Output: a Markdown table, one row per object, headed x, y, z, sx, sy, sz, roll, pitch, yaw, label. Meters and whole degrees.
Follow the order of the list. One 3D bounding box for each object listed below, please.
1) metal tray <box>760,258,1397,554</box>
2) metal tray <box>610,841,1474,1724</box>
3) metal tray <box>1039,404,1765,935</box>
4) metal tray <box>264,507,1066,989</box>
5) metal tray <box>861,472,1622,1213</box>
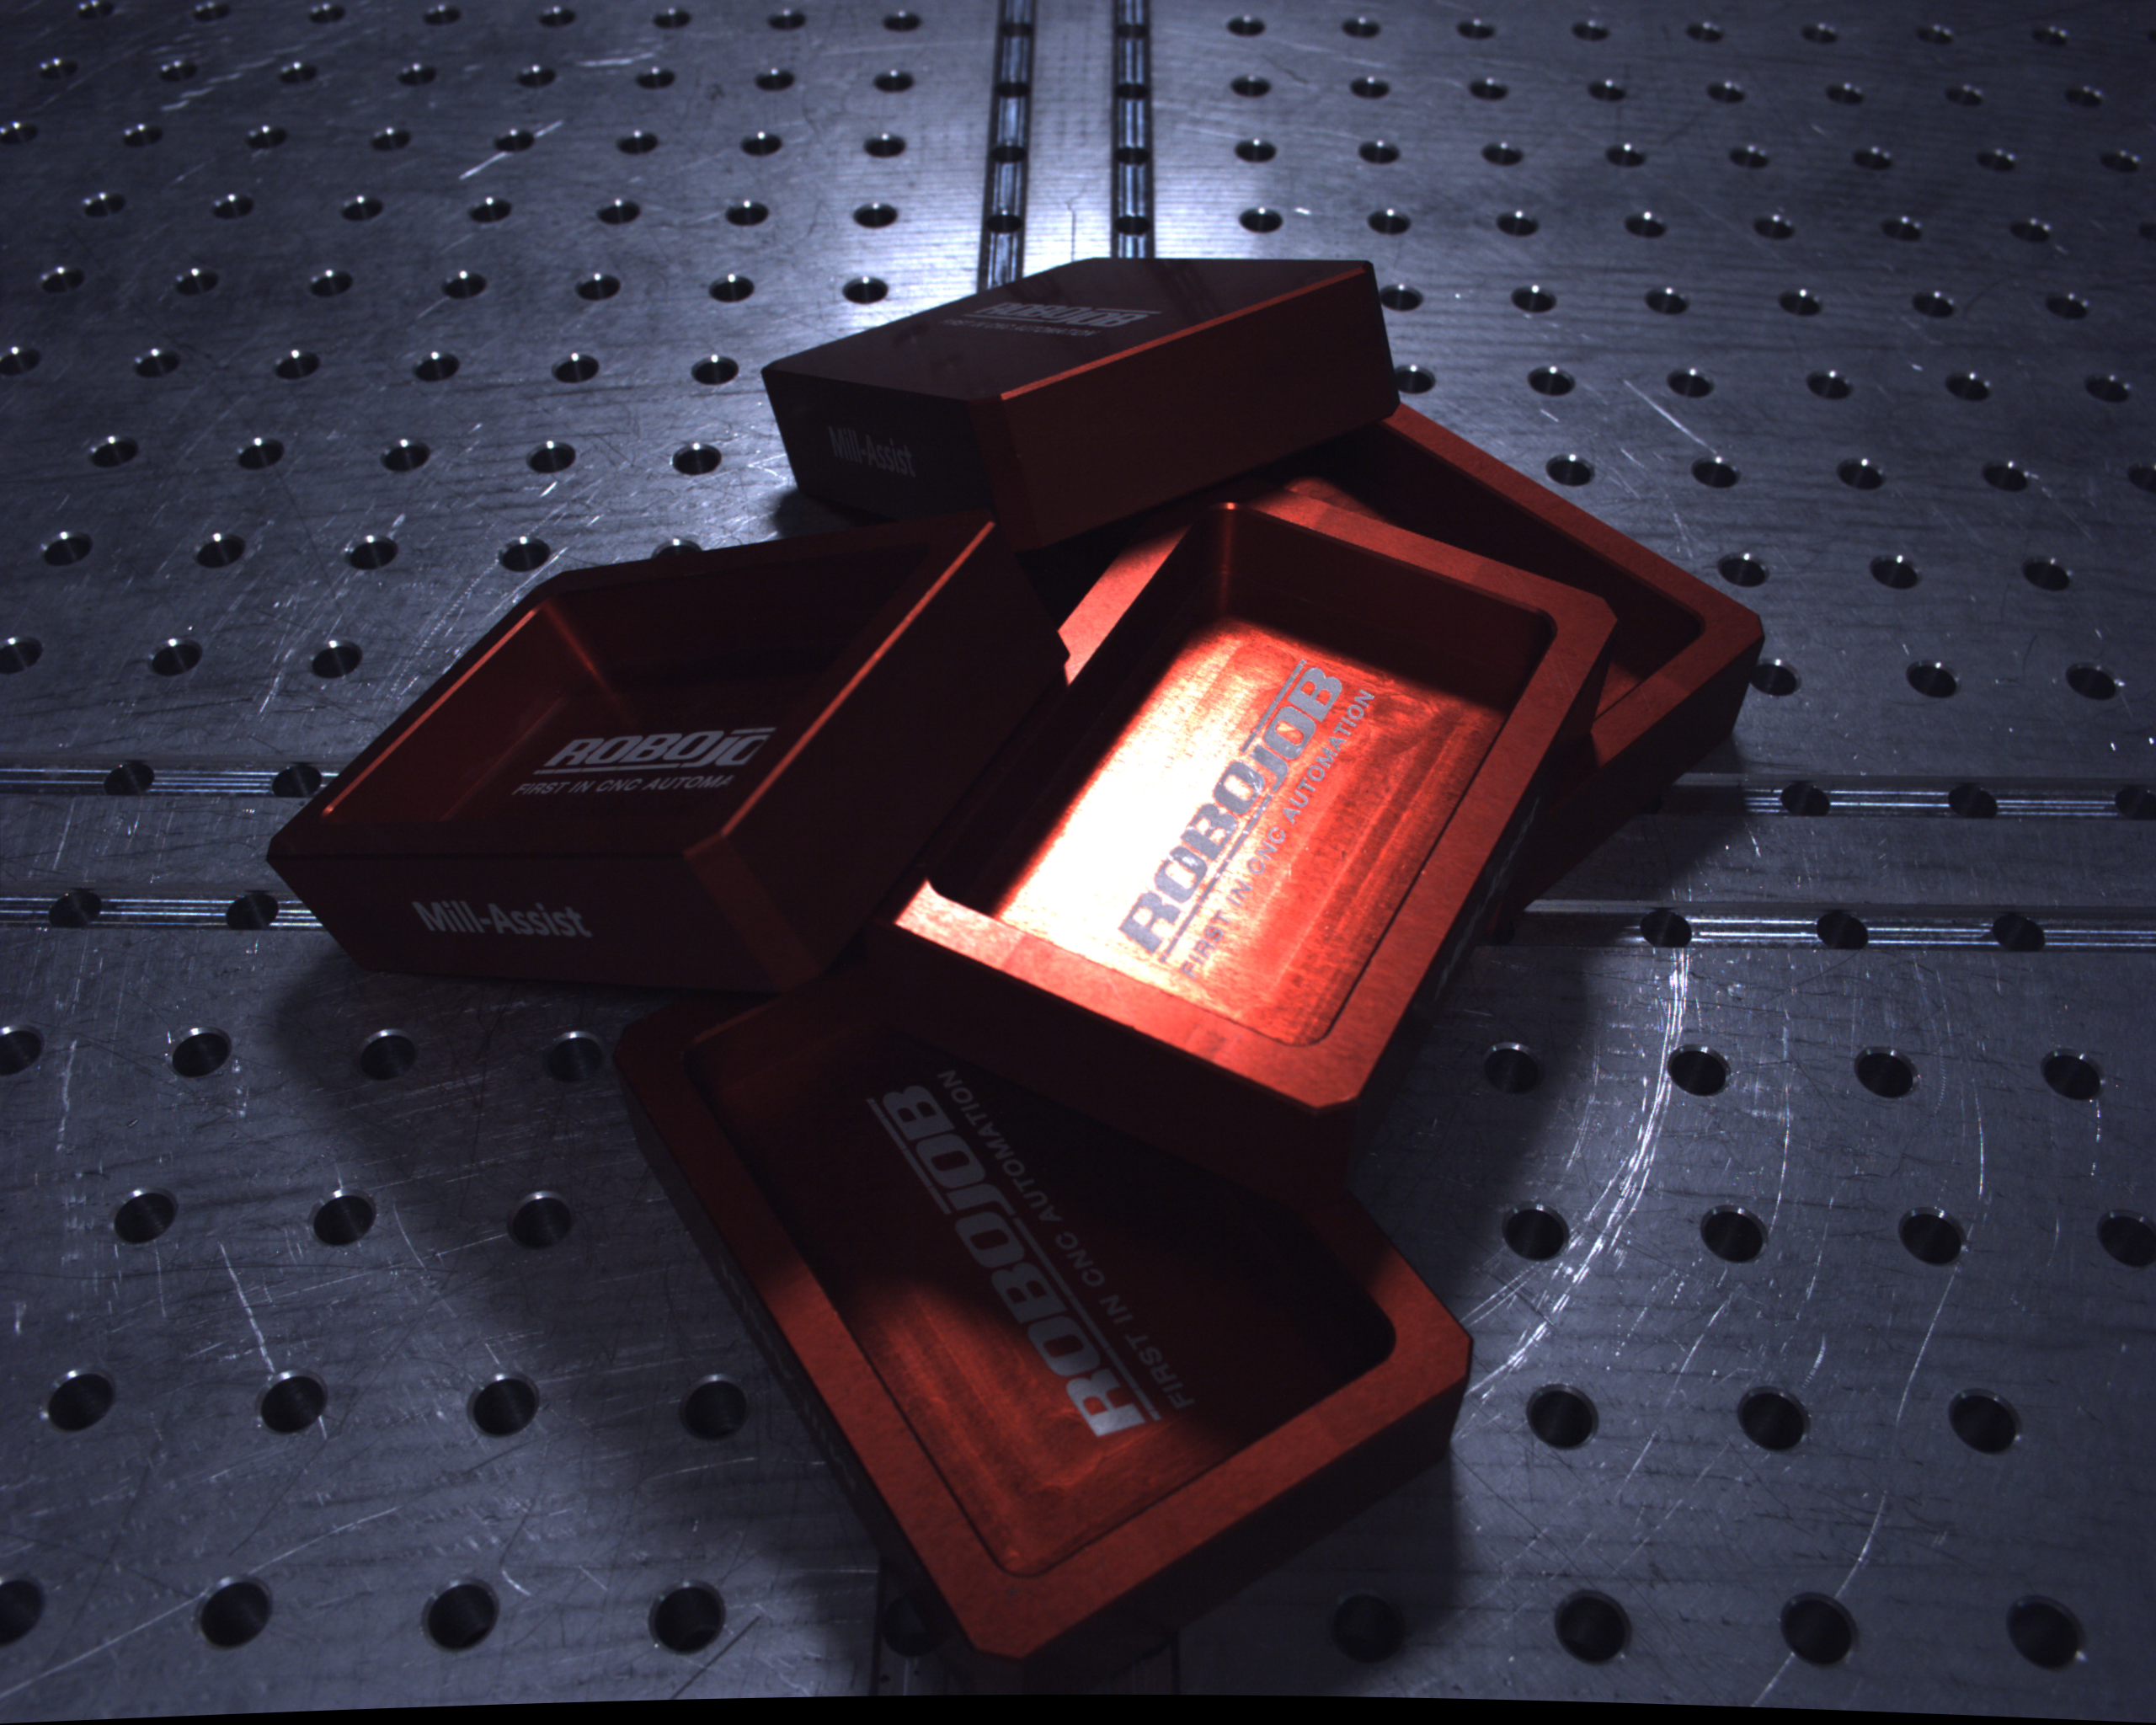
| x | y | z | sx | sy | sz | roll | pitch | yaw | label |
| --- | --- | --- | --- | --- | --- | --- | --- | --- | --- |
| -0.004 | -0.103 | 0.452 | 0.091 | 0.030 | 0.130 | -24 | 24 | -20 | metal tray |
| -0.009 | 0.063 | 0.351 | 0.091 | 0.030 | 0.130 | -26 | 55 | -21 | metal tray |
| 0.066 | -0.052 | 0.448 | 0.091 | 0.030 | 0.130 | -36 | 59 | -27 | metal tray |
| -0.077 | -0.021 | 0.381 | 0.130 | 0.030 | 0.090 | 0 | 42 | 40 | metal tray |
| 0.032 | -0.011 | 0.375 | 0.090 | 0.030 | 0.130 | 23 | 53 | 17 | metal tray |
